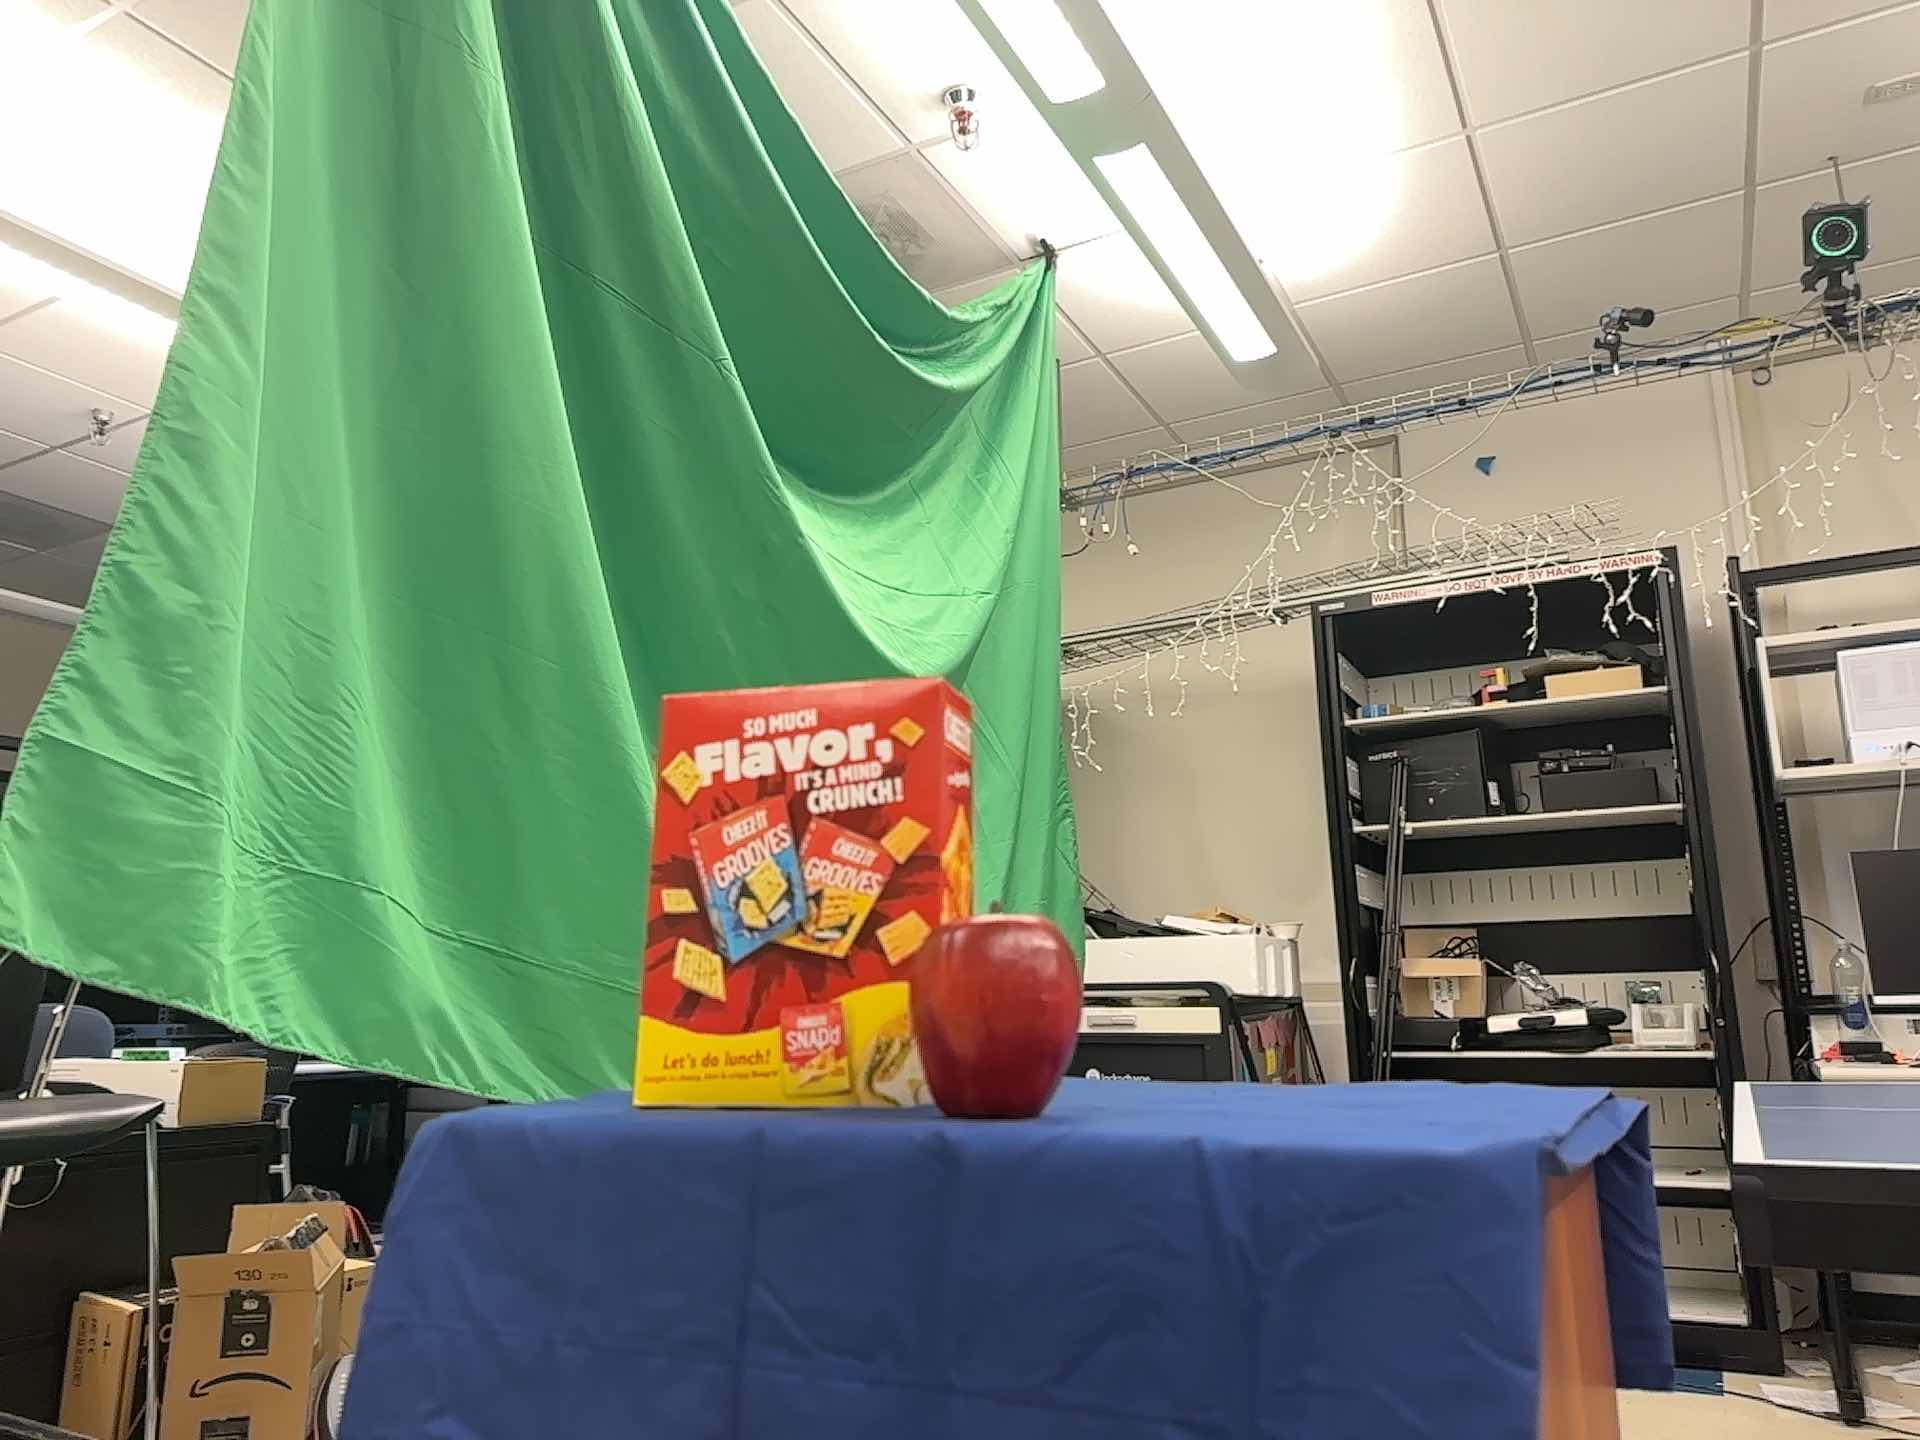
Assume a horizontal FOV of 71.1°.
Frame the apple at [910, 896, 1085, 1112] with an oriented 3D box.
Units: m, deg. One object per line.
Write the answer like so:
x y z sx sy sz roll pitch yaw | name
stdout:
0.017 0.125 0.600 0.079 0.093 0.079 -2 -11 0 | apple

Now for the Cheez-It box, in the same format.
-0.079 0.087 0.711 0.159 0.214 0.062 -3 -11 13 | Cheez-It box
